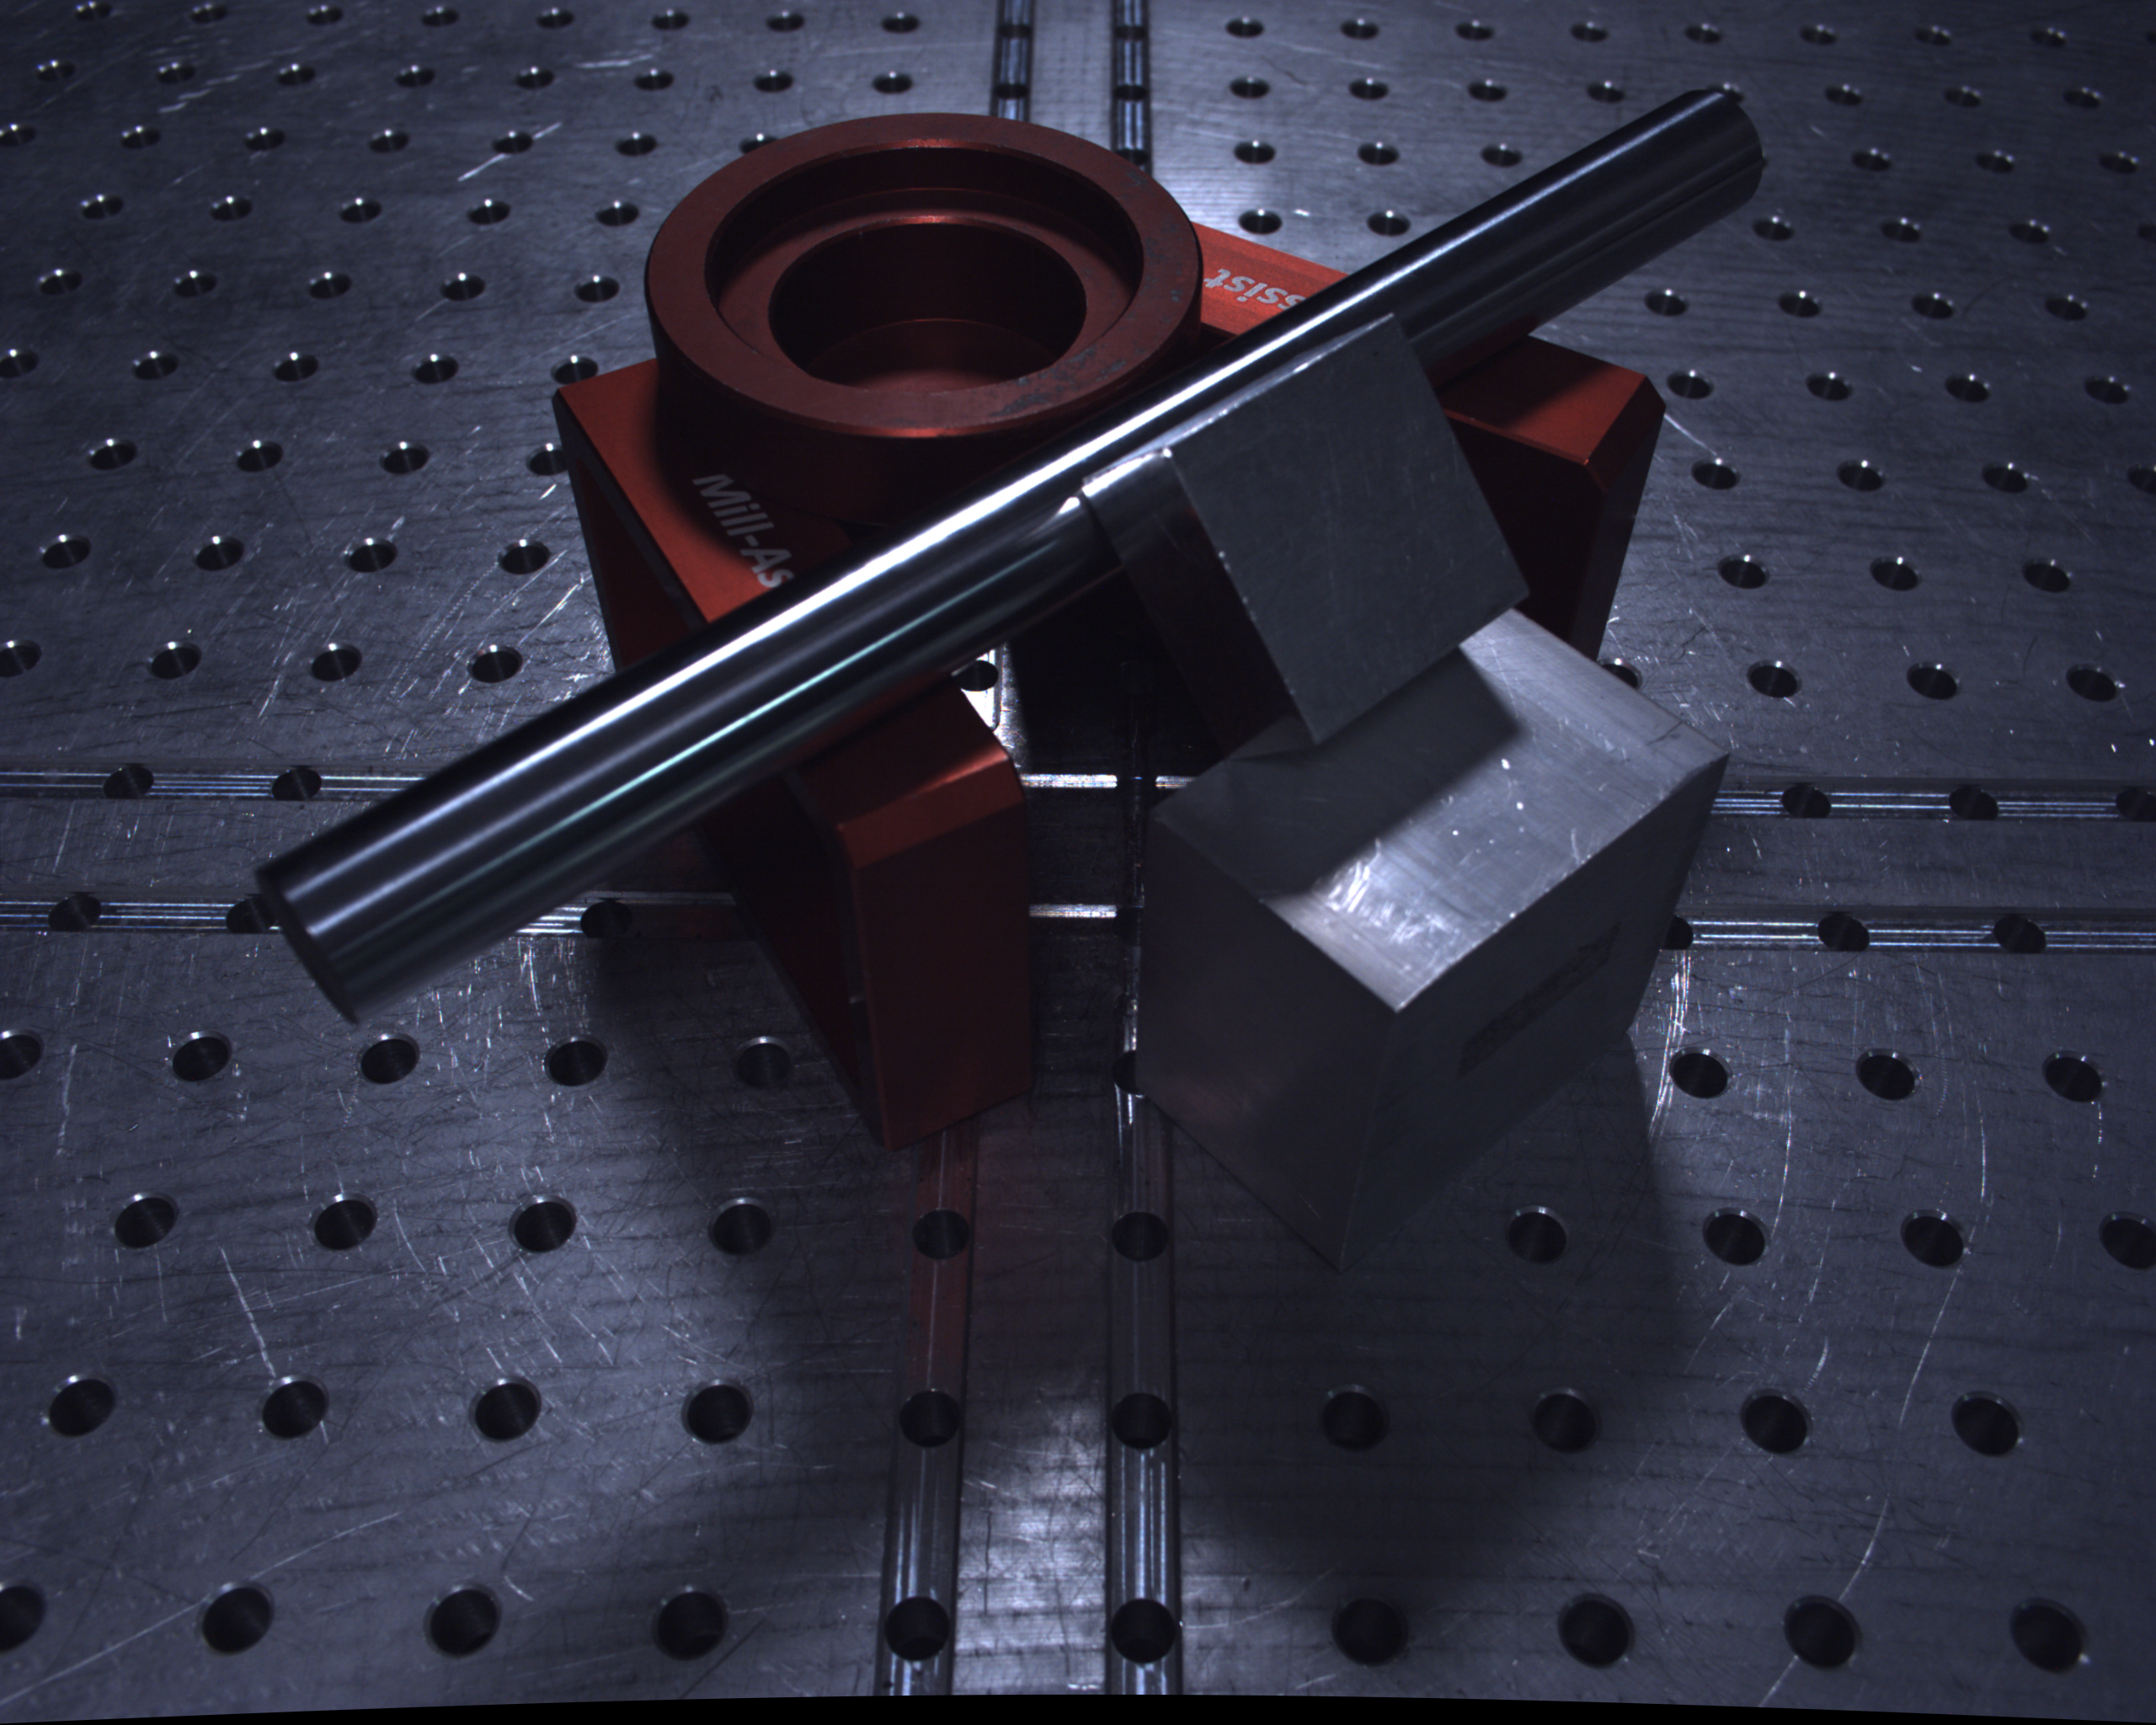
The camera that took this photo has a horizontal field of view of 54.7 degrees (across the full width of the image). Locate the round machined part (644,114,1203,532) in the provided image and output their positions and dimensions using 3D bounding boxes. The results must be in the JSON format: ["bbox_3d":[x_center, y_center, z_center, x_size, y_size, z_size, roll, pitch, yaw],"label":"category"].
[{"bbox_3d":[-0.027,-0.094,0.385,0.099,0.042,0.098,0,50,0],"label":"round machined part"}]

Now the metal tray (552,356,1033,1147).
[{"bbox_3d":[-0.053,-0.023,0.384,0.030,0.089,0.130,-23,54,-18],"label":"metal tray"}]

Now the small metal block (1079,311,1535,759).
[{"bbox_3d":[0.037,-0.051,0.328,0.050,0.050,0.025,-35,14,-26],"label":"small metal block"}]

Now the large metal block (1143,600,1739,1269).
[{"bbox_3d":[0.059,0.010,0.360,0.080,0.080,0.050,-34,58,-25],"label":"large metal block"}]

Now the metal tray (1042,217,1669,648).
[{"bbox_3d":[0.046,-0.076,0.429,0.130,0.089,0.030,25,55,19],"label":"metal tray"}]

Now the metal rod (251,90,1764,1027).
[{"bbox_3d":[0.010,-0.064,0.344,0.302,0.025,0.025,-33,58,-25],"label":"metal rod"}]
